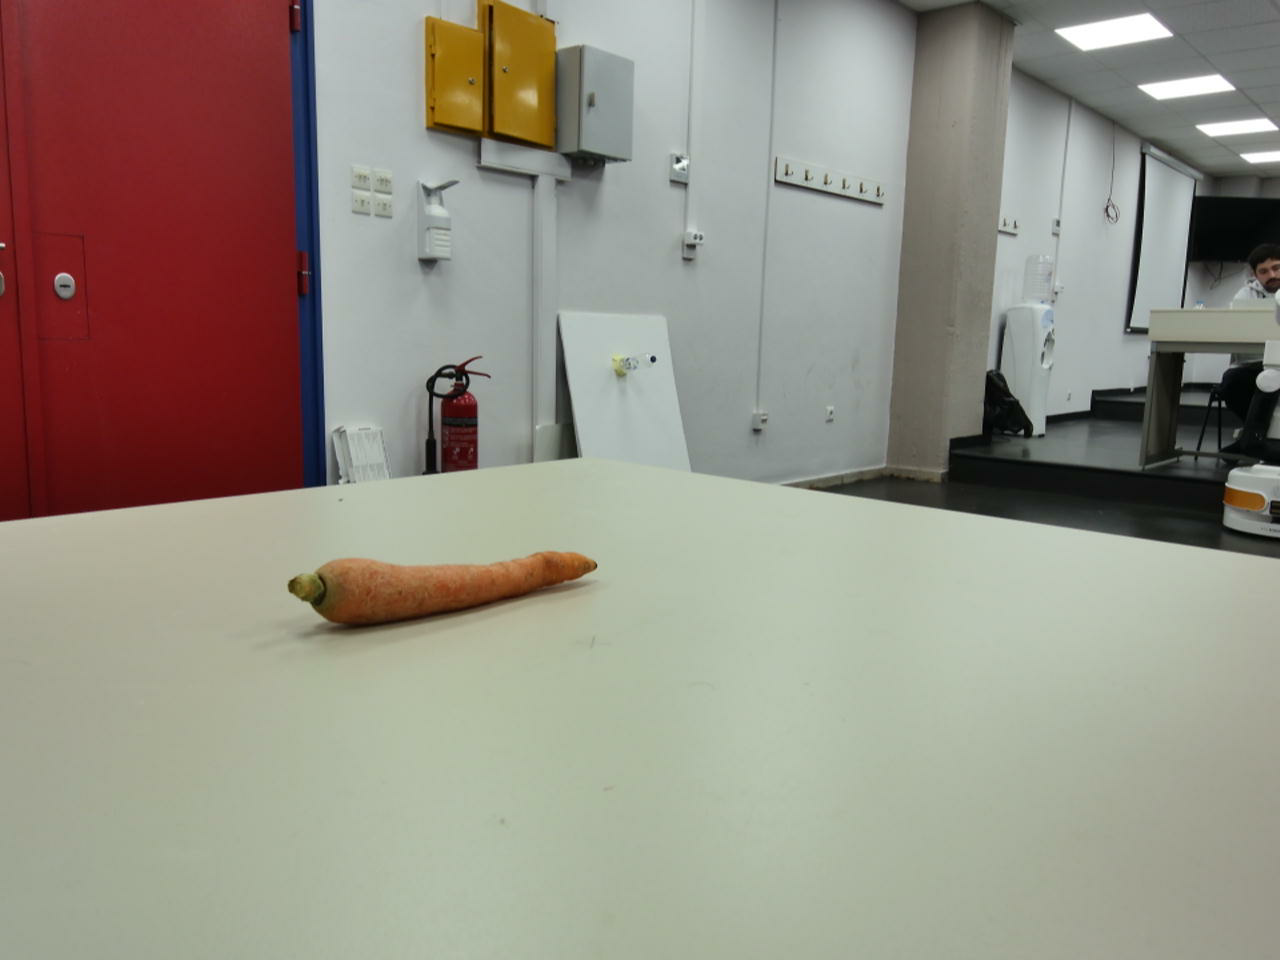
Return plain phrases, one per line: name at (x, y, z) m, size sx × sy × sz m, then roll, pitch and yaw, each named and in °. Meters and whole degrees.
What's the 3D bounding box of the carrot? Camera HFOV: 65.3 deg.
carrot at (-0.088, 0.048, 0.496) m, size 0.173 × 0.032 × 0.030 m, roll -6°, pitch 8°, yaw -39°
